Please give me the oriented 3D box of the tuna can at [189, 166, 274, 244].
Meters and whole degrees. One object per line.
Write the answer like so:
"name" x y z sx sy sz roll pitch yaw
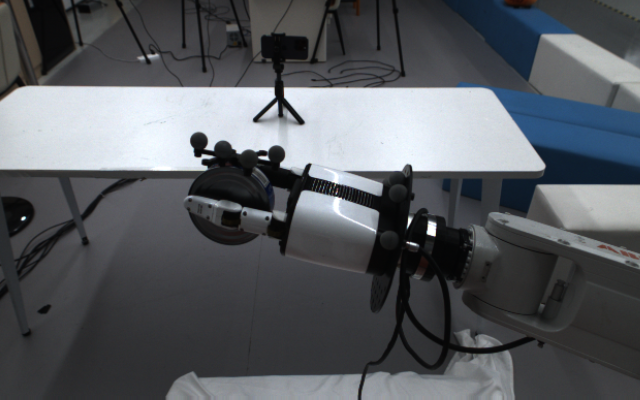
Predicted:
"tuna can" -0.089 0.000 0.506 0.085 0.085 0.034 5 18 4
